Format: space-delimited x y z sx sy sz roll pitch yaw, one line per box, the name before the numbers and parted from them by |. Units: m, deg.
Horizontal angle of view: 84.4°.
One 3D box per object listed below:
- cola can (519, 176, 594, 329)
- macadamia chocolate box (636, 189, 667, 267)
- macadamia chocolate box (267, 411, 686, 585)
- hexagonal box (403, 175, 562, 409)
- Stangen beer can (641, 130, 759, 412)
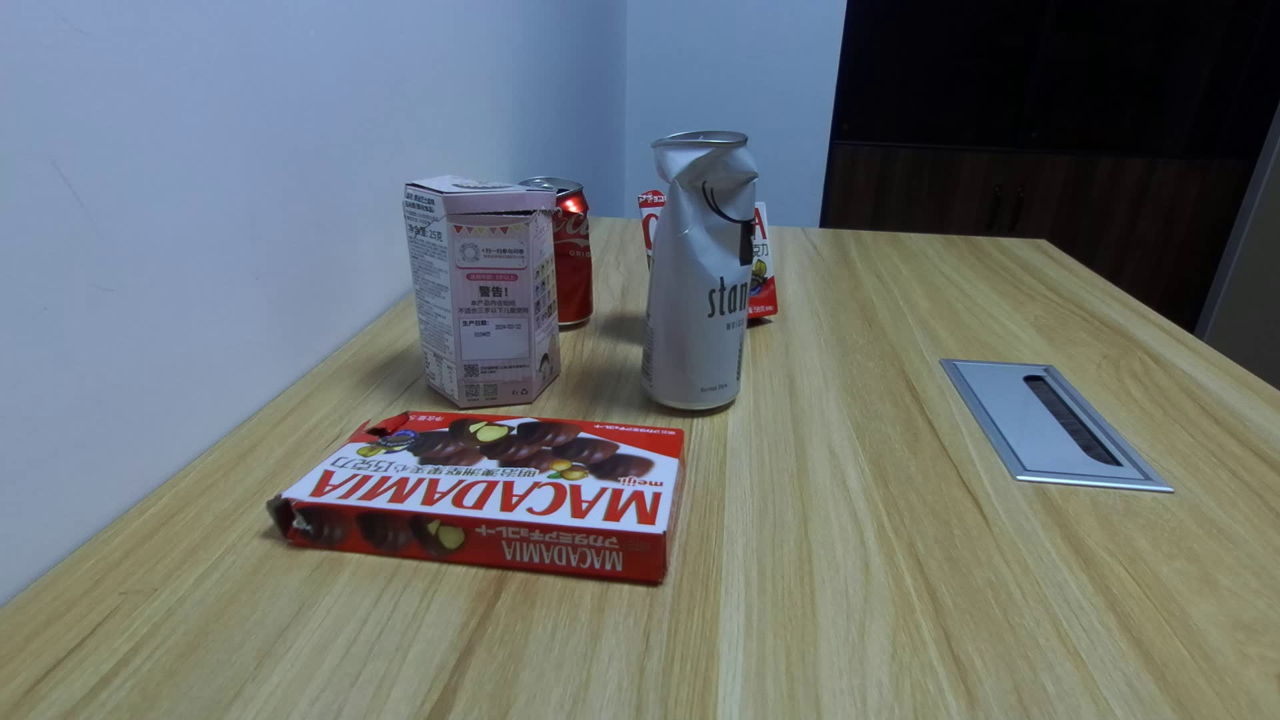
cola can | -0.071 -0.087 0.570 0.066 0.112 0.069 -5 28 -12
macadamia chocolate box | 0.063 -0.084 0.578 0.112 0.126 0.056 -15 7 2
macadamia chocolate box | -0.073 0.060 0.353 0.186 0.027 0.103 4 23 7
hexagonal box | -0.098 -0.046 0.454 0.092 0.135 0.085 -4 25 -9
Stangen beer can | 0.034 -0.051 0.433 0.066 0.166 0.065 -11 27 -21
